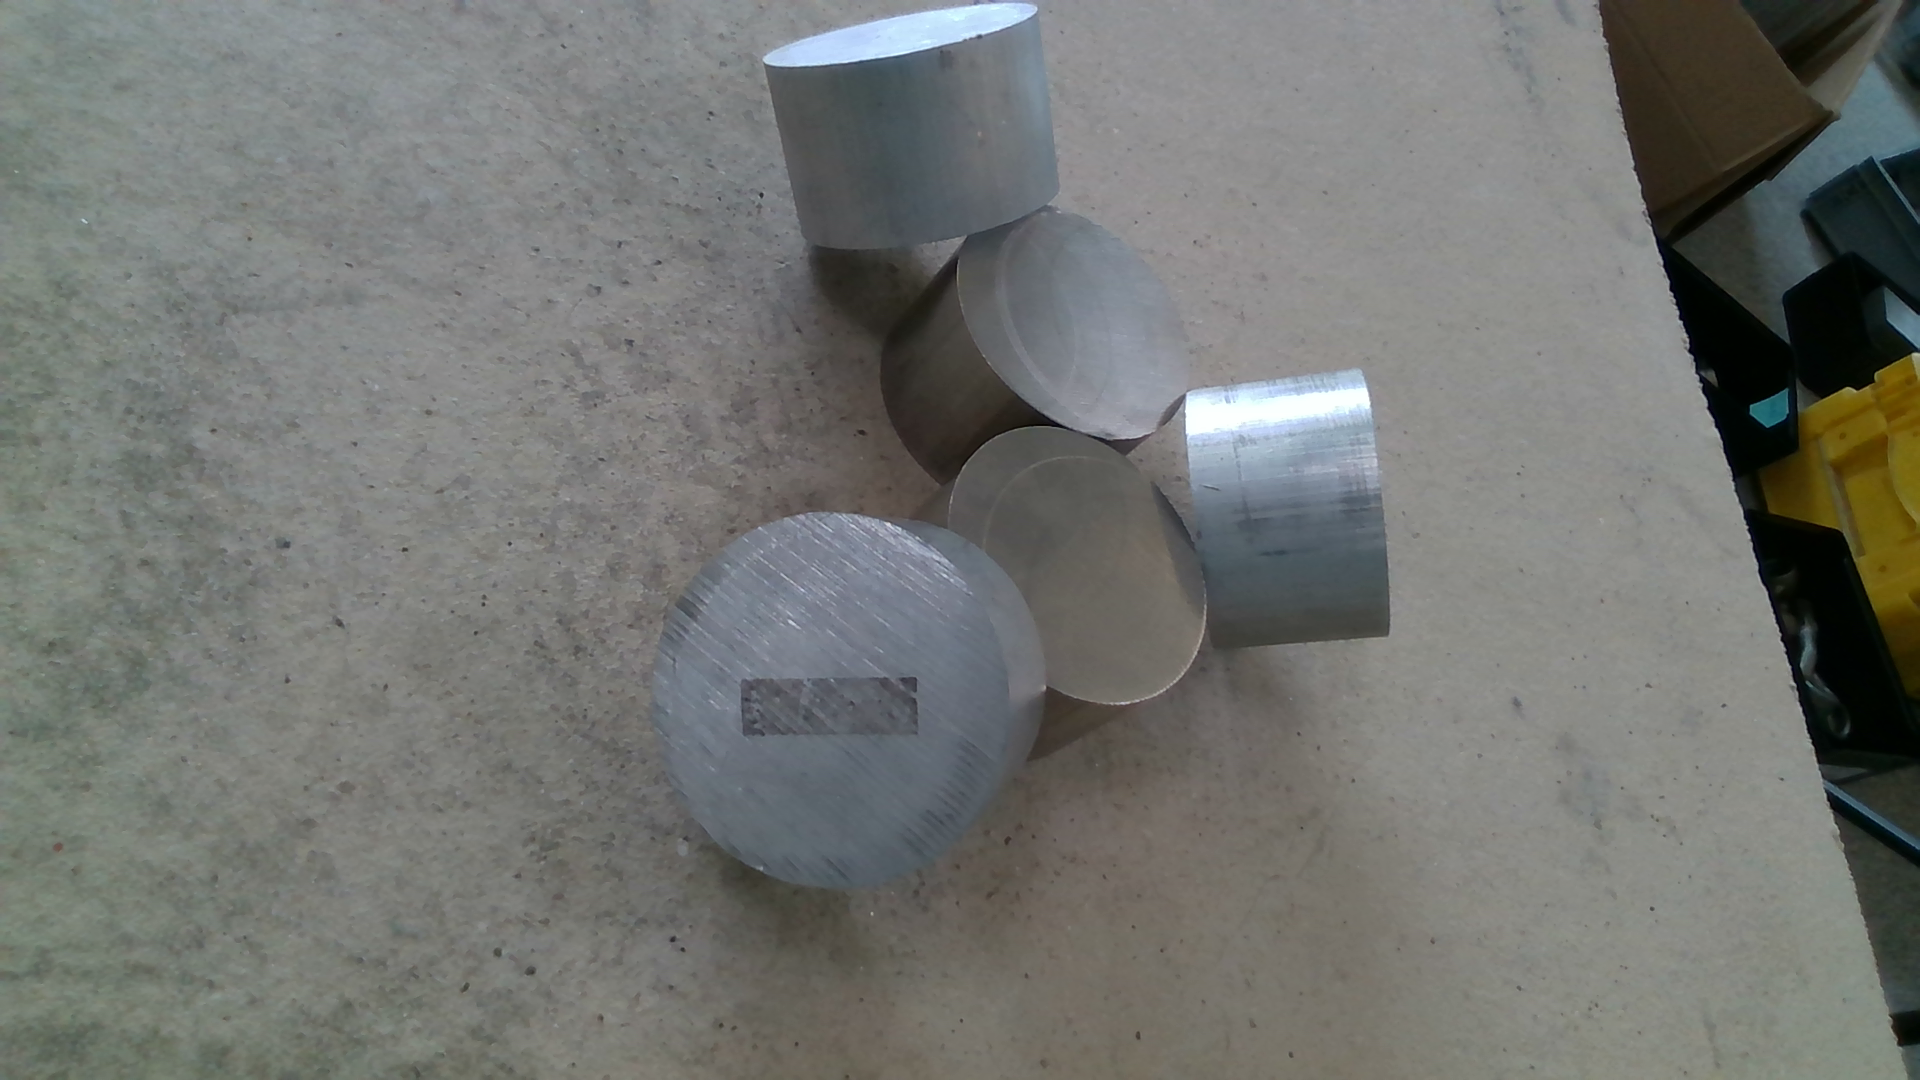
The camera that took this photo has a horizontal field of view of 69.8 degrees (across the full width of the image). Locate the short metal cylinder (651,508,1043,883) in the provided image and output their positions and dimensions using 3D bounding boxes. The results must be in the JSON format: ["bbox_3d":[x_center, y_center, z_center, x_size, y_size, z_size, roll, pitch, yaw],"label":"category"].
[{"bbox_3d":[-0.023,0.033,0.318,0.080,0.080,0.050,58,10,7],"label":"short metal cylinder"}]

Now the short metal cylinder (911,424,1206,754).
[{"bbox_3d":[0.020,0.015,0.382,0.080,0.050,0.080,15,59,-25],"label":"short metal cylinder"}]

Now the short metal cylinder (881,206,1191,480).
[{"bbox_3d":[0.023,-0.055,0.420,0.080,0.050,0.080,15,59,-25],"label":"short metal cylinder"}]

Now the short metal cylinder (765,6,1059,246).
[{"bbox_3d":[-0.013,-0.124,0.408,0.080,0.080,0.050,-35,126,-39],"label":"short metal cylinder"}]

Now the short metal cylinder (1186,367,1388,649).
[{"bbox_3d":[0.098,-0.009,0.416,0.050,0.080,0.080,-6,60,13],"label":"short metal cylinder"}]
